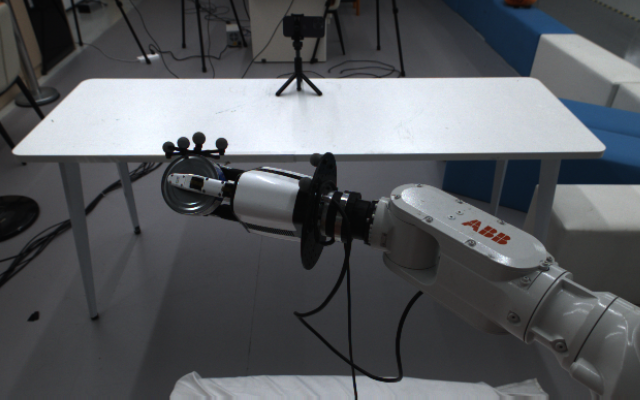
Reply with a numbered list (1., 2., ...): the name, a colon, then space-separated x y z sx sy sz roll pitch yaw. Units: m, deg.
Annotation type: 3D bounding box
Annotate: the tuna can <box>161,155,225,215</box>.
1. tuna can: -0.173 -0.018 0.686 0.085 0.085 0.034 9 -6 10
